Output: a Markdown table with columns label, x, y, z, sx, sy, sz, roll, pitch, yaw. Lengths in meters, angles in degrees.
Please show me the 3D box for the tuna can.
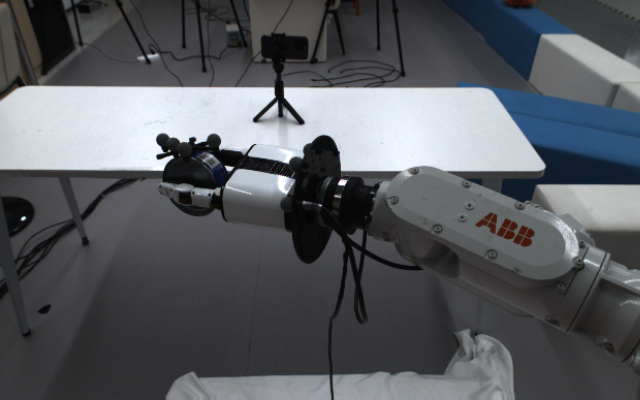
| label | x | y | z | sx | sy | sz | roll | pitch | yaw |
| --- | --- | --- | --- | --- | --- | --- | --- | --- | --- |
| tuna can | -0.162 | -0.023 | 0.644 | 0.085 | 0.085 | 0.034 | 14 | 29 | 17 |
